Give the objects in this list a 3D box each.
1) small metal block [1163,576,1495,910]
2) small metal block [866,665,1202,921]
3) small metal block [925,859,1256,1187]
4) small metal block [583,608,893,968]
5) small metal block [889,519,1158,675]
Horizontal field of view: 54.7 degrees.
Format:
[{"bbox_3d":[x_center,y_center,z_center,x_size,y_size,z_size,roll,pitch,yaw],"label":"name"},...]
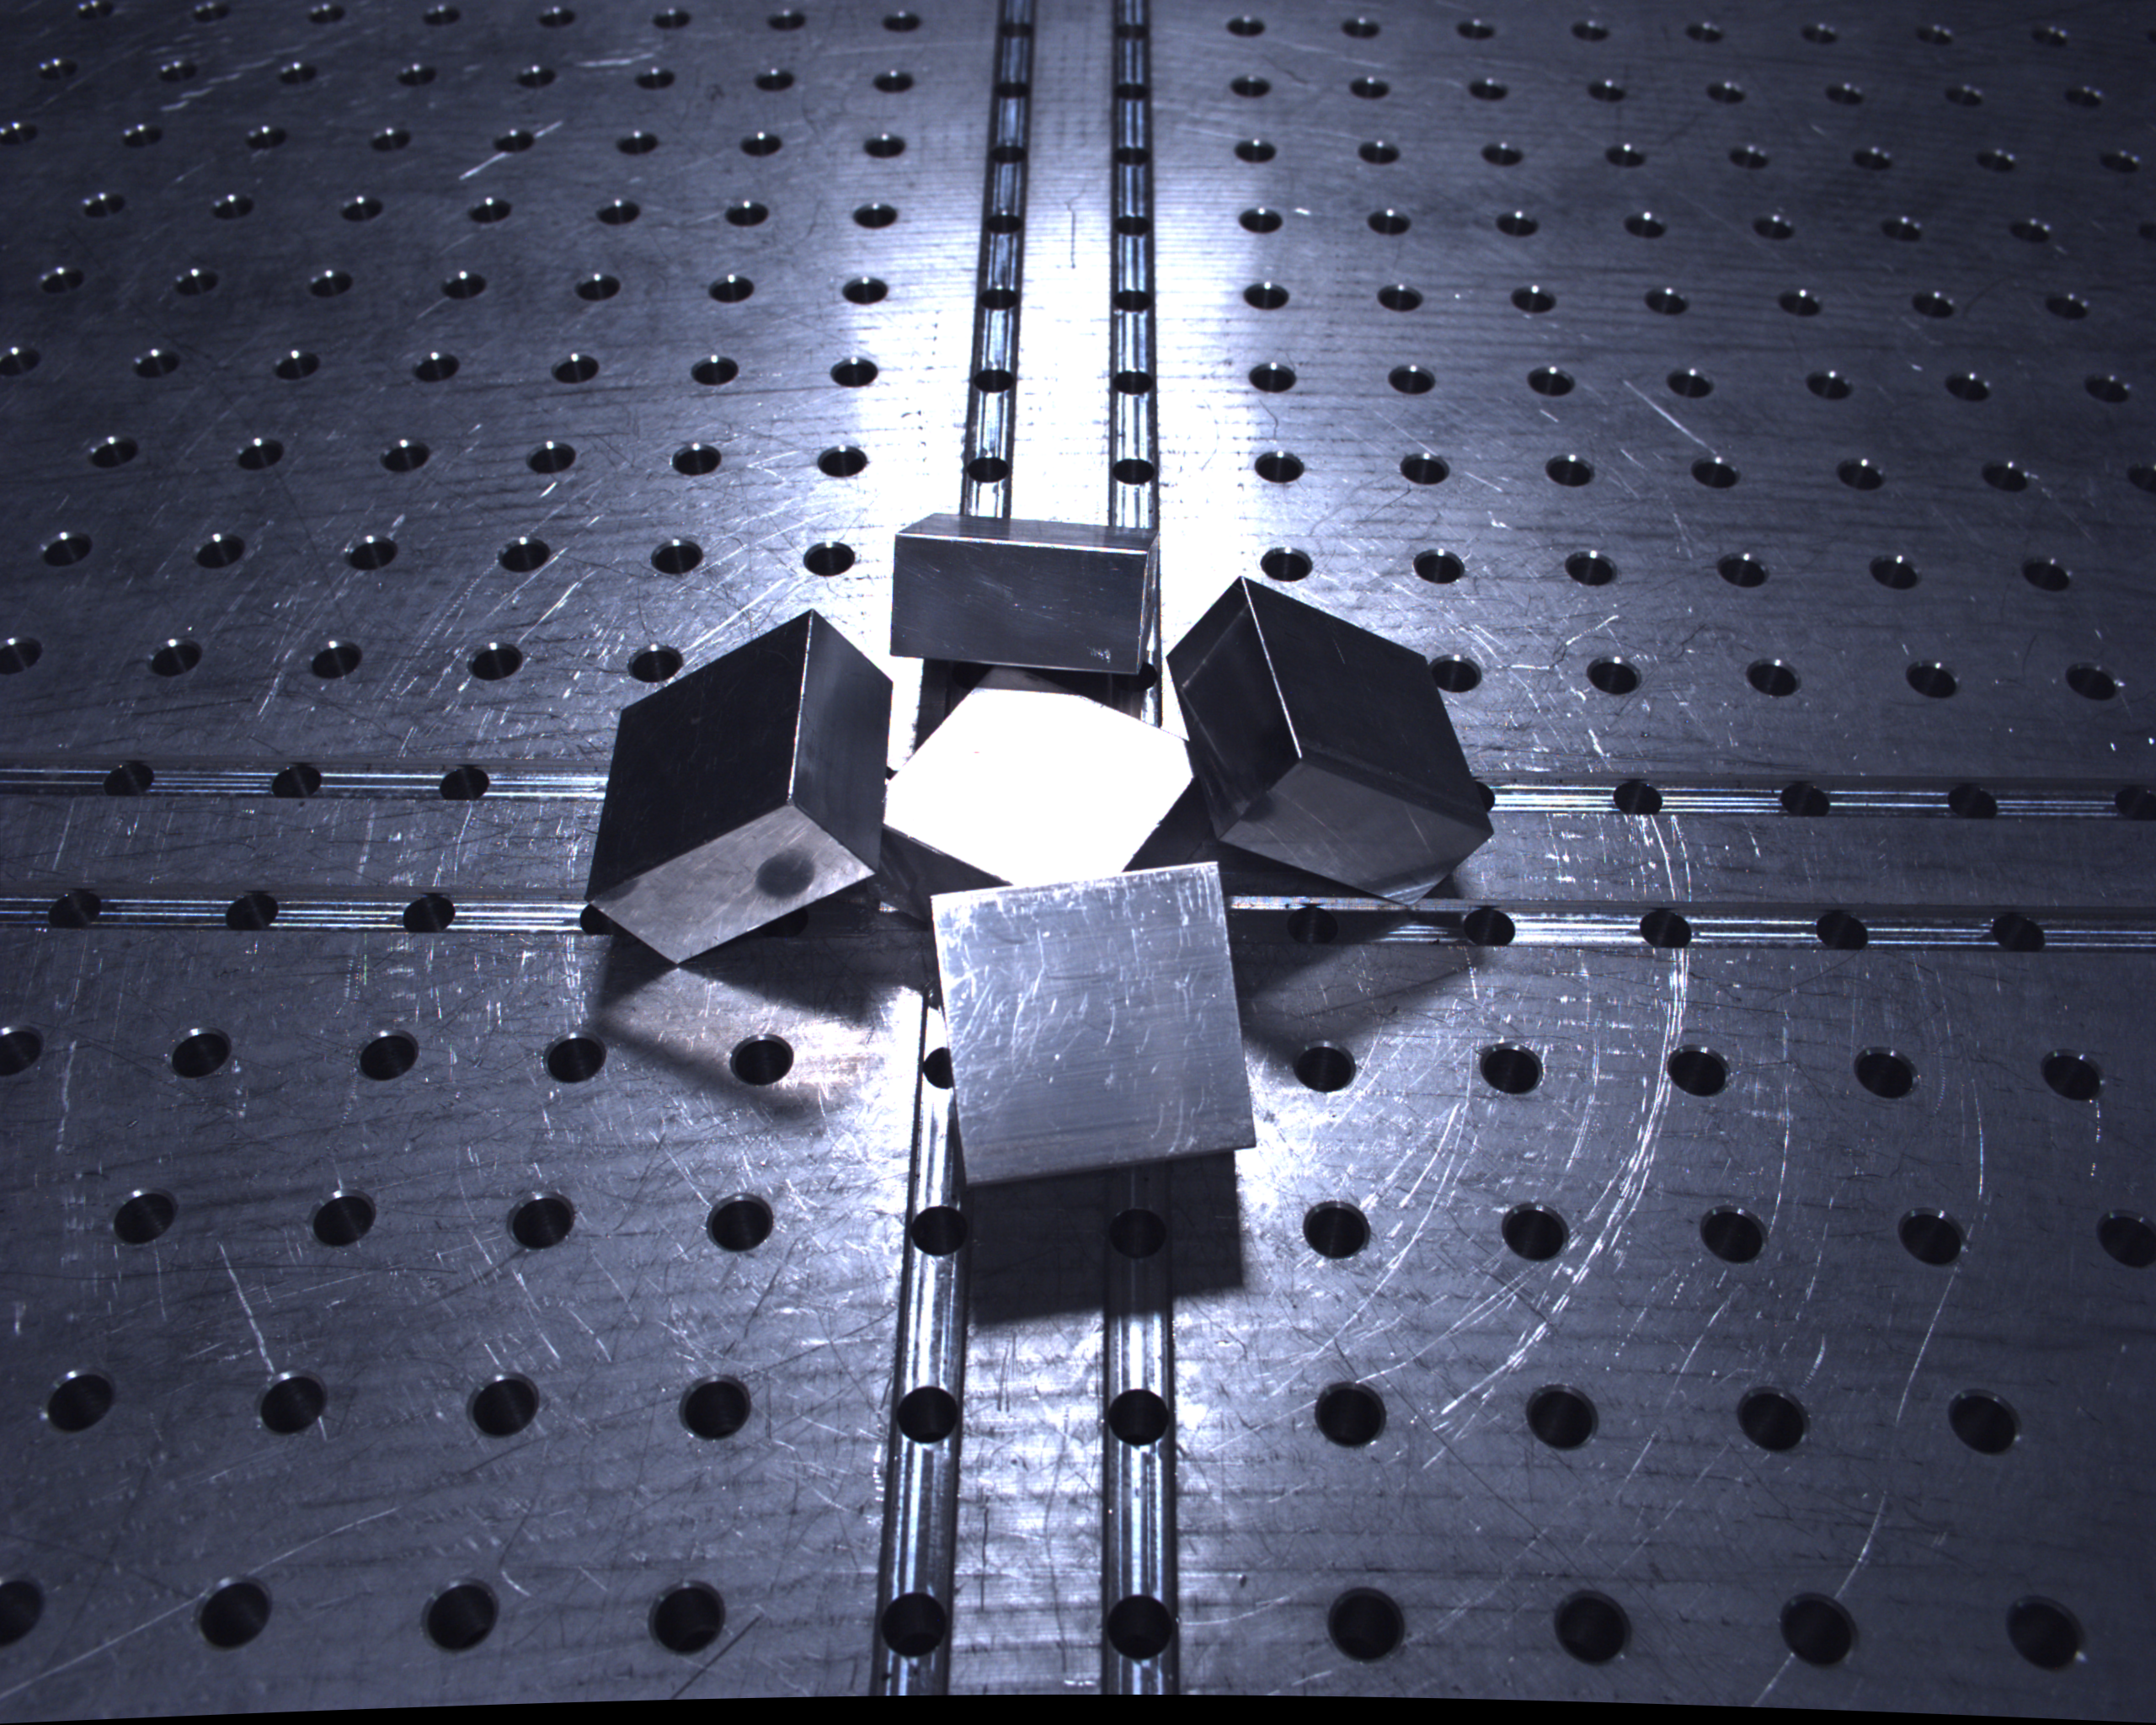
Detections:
[{"bbox_3d":[0.049,-0.023,0.412,0.050,0.025,0.050,18,41,-32],"label":"small metal block"},{"bbox_3d":[-0.008,-0.008,0.413,0.050,0.025,0.050,25,54,19],"label":"small metal block"},{"bbox_3d":[0.001,0.028,0.368,0.050,0.025,0.050,-7,86,-6],"label":"small metal block"},{"bbox_3d":[-0.065,-0.014,0.404,0.050,0.025,0.050,-24,45,25],"label":"small metal block"},{"bbox_3d":[-0.010,-0.057,0.439,0.050,0.025,0.050,5,14,4],"label":"small metal block"}]
